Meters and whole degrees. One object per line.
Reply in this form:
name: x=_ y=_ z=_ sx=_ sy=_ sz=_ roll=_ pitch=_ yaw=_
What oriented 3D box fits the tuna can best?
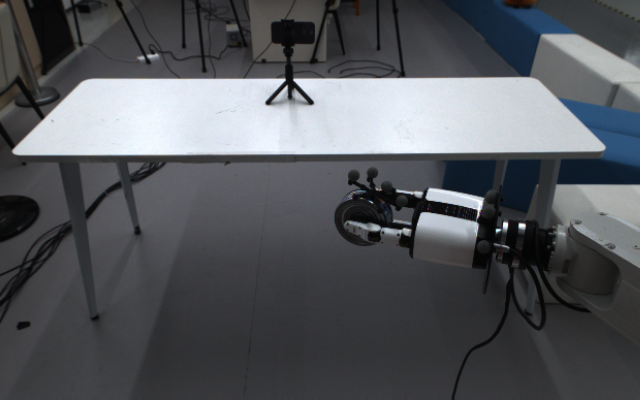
tuna can: x=0.069 y=0.034 z=0.739 sx=0.085 sy=0.085 sz=0.034 roll=15 pitch=31 yaw=18
